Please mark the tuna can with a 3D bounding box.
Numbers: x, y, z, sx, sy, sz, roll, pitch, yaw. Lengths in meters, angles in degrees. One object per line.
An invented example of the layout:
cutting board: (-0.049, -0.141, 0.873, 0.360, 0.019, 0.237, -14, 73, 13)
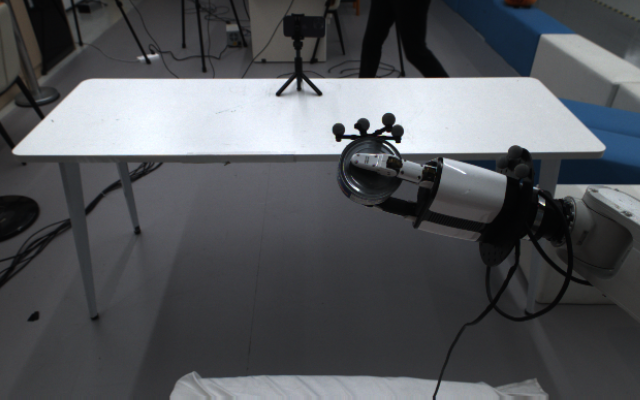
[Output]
tuna can: (0.065, -0.040, 0.632, 0.085, 0.034, 0.085, 1, 70, -4)
